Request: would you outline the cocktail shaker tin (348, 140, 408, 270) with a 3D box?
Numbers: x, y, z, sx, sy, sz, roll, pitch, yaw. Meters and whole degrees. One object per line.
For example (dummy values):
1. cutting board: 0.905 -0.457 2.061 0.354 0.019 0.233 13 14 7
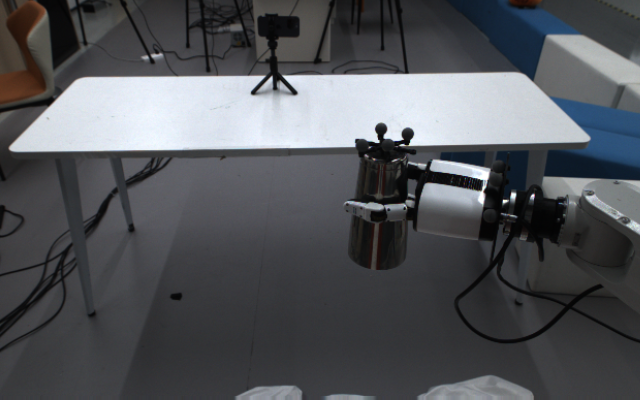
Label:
1. cocktail shaker tin: 0.092 0.006 0.714 0.093 0.170 0.093 0 30 0
